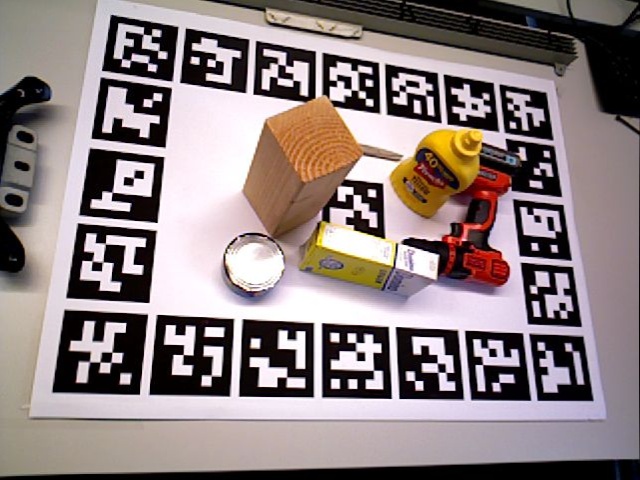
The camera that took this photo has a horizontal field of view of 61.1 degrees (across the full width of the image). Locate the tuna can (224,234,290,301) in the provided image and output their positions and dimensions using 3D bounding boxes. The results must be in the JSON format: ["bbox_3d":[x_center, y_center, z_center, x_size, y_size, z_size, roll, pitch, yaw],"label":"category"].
[{"bbox_3d":[-0.086,0.038,0.732,0.085,0.034,0.085,4,74,-15],"label":"tuna can"}]

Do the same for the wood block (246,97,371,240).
[{"bbox_3d":[-0.025,-0.084,0.704,0.089,0.210,0.090,-24,81,-21],"label":"wood block"}]

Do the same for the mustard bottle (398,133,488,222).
[{"bbox_3d":[0.184,-0.097,0.769,0.057,0.195,0.096,-36,86,-22],"label":"mustard bottle"}]

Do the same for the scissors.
[{"bbox_3d":[0.031,-0.145,0.829,0.201,0.016,0.087,8,68,-13],"label":"scissors"}]

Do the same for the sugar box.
[{"bbox_3d":[0.080,0.038,0.749,0.175,0.095,0.045,18,66,-11],"label":"sugar box"}]

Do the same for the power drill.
[{"bbox_3d":[0.214,-0.026,0.820,0.183,0.058,0.186,18,77,-9],"label":"power drill"}]
